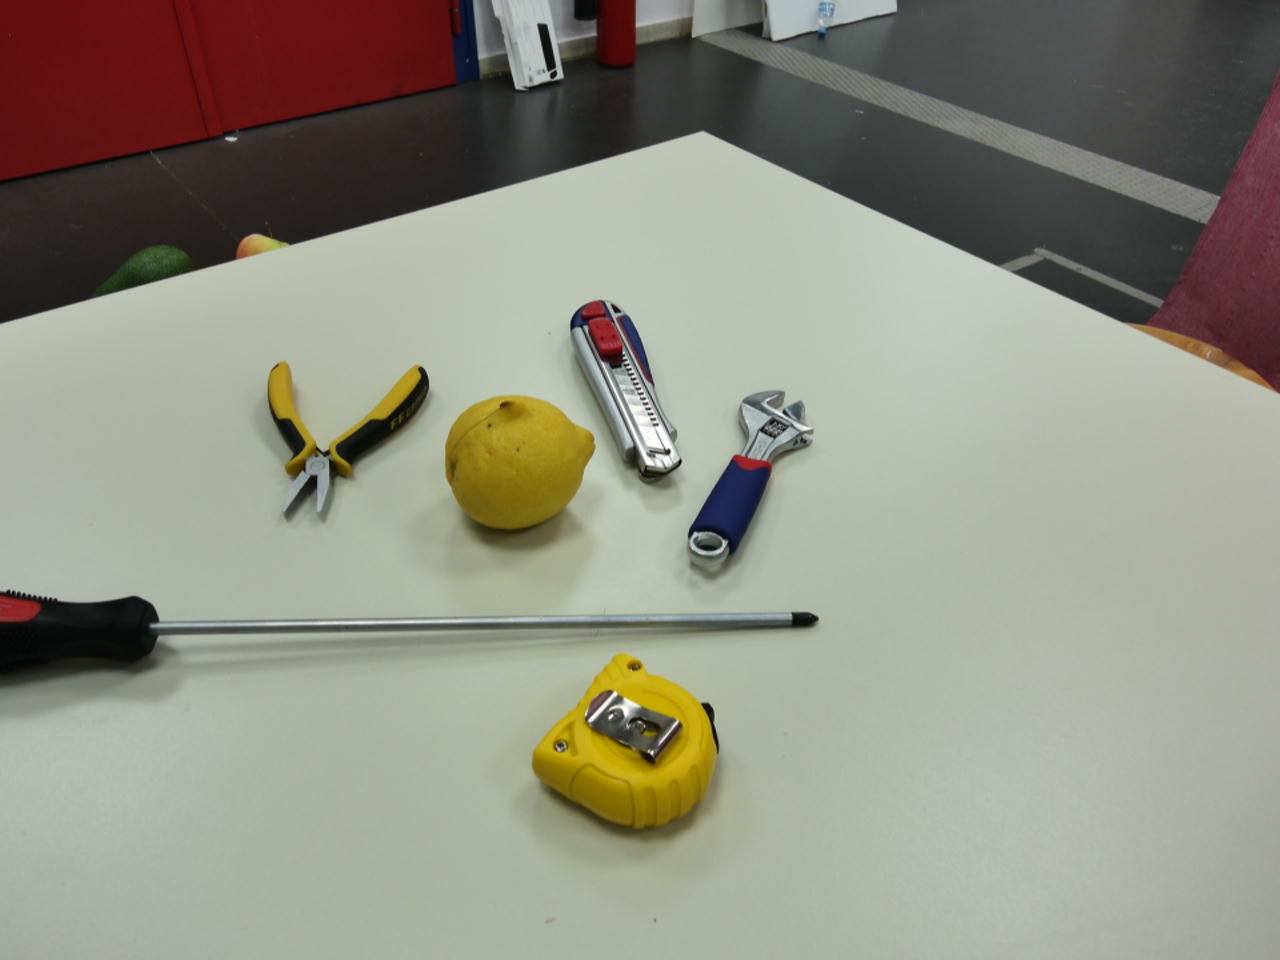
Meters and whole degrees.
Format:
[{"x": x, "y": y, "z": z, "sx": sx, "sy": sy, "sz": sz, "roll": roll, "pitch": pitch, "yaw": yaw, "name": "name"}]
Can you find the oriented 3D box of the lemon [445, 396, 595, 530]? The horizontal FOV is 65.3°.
[{"x": -0.064, "y": -0.012, "z": 0.504, "sx": 0.071, "sy": 0.071, "sz": 0.070, "roll": 12, "pitch": 39, "yaw": 14, "name": "lemon"}]
